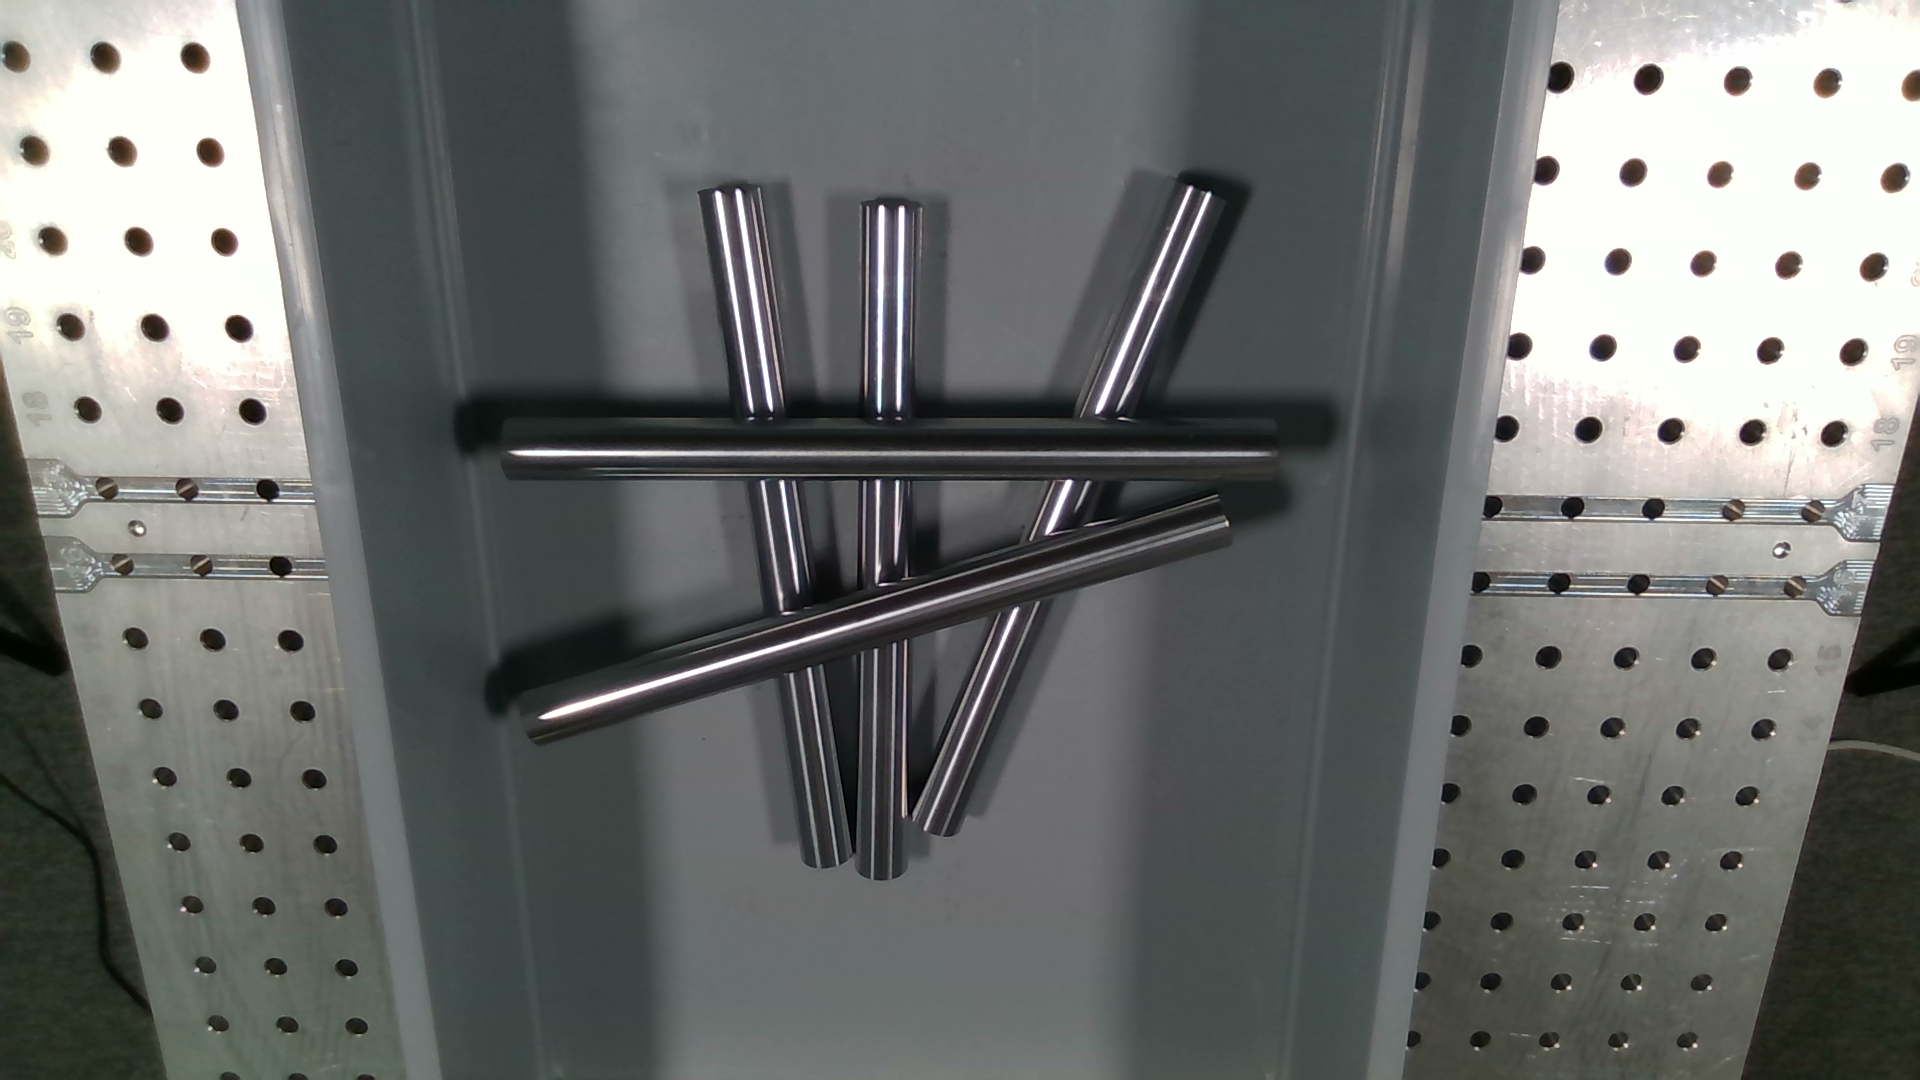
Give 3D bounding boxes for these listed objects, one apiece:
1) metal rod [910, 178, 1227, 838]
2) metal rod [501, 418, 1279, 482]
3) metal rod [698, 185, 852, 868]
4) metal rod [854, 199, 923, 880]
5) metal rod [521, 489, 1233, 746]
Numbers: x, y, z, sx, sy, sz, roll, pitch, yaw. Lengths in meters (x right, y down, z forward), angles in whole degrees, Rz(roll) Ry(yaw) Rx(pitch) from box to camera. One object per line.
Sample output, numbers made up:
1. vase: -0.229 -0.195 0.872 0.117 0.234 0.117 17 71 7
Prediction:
1. metal rod: 0.040 -0.003 0.582 0.025 0.025 0.301 19 109 -7
2. metal rod: -0.027 -0.036 0.543 0.300 0.025 0.025 0 110 0
3. metal rod: -0.076 0.004 0.585 0.025 0.025 0.301 -5 110 2
4. metal rod: -0.032 0.010 0.587 0.025 0.025 0.301 2 110 -1
5. metal rod: -0.037 0.033 0.569 0.300 0.025 0.025 -17 109 6
